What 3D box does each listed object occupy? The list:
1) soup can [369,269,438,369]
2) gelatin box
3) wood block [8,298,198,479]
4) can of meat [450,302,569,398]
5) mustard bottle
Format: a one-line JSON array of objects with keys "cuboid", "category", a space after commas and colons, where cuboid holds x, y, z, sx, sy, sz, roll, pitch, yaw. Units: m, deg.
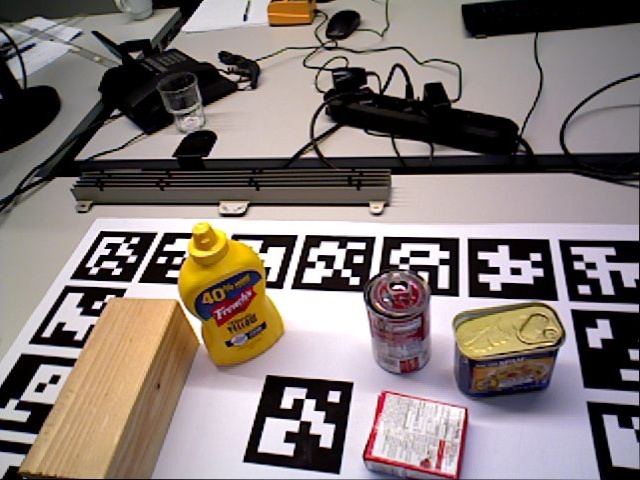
[{"cuboid": [0.089, 0.080, 0.566, 0.068, 0.104, 0.067, -7, 46, 6], "category": "soup can"}, {"cuboid": [0.096, 0.192, 0.512, 0.090, 0.030, 0.072, 7, 50, 22], "category": "gelatin box"}, {"cuboid": [-0.212, 0.167, 0.570, 0.091, 0.091, 0.202, 2, 42, 12], "category": "wood block"}, {"cuboid": [0.183, 0.110, 0.541, 0.101, 0.085, 0.057, -8, 45, 1], "category": "can of meat"}, {"cuboid": [-0.106, 0.061, 0.584, 0.095, 0.195, 0.058, -16, 44, -7], "category": "mustard bottle"}]
